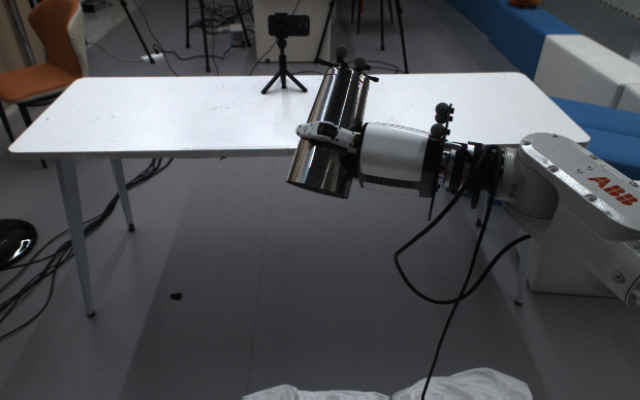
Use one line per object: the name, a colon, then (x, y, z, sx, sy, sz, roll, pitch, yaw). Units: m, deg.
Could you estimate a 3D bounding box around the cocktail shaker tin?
cocktail shaker tin: (0.018, -0.096, 0.687, 0.093, 0.170, 0.093, 15, -4, 1)
